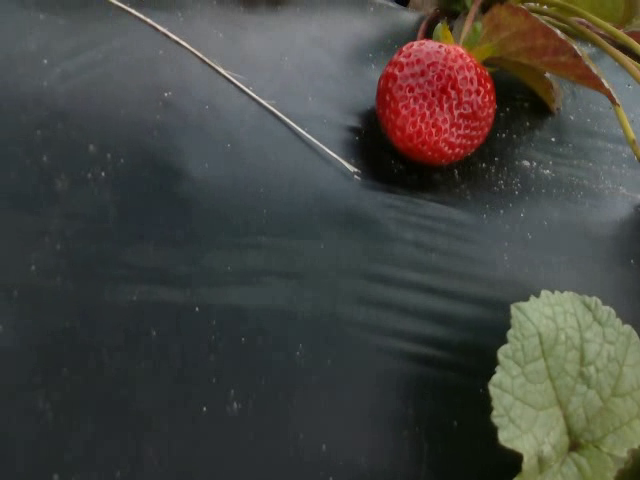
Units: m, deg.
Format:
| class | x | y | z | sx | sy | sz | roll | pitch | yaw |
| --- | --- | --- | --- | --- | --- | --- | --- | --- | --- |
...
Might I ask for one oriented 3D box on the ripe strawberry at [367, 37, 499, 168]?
| class | x | y | z | sx | sy | sz | roll | pitch | yaw |
| --- | --- | --- | --- | --- | --- | --- | --- | --- | --- |
| ripe strawberry | 0.023 | -0.028 | 0.119 | 0.028 | 0.033 | 0.023 | 32 | -32 | 1 |
